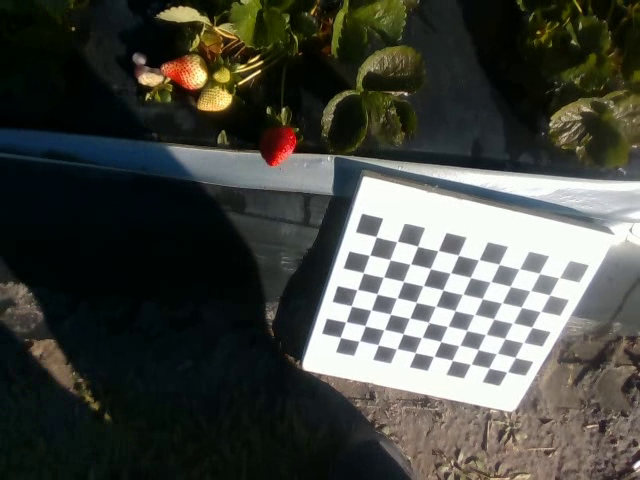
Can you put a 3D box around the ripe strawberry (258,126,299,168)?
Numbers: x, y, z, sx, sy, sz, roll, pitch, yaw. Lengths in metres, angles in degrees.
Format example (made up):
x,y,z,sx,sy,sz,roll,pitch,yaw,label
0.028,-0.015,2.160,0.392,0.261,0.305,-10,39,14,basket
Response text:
x,y,z,sx,sy,sz,roll,pitch,yaw,label
-0.037,-0.075,0.518,0.036,0.038,0.046,13,44,-4,ripe strawberry
